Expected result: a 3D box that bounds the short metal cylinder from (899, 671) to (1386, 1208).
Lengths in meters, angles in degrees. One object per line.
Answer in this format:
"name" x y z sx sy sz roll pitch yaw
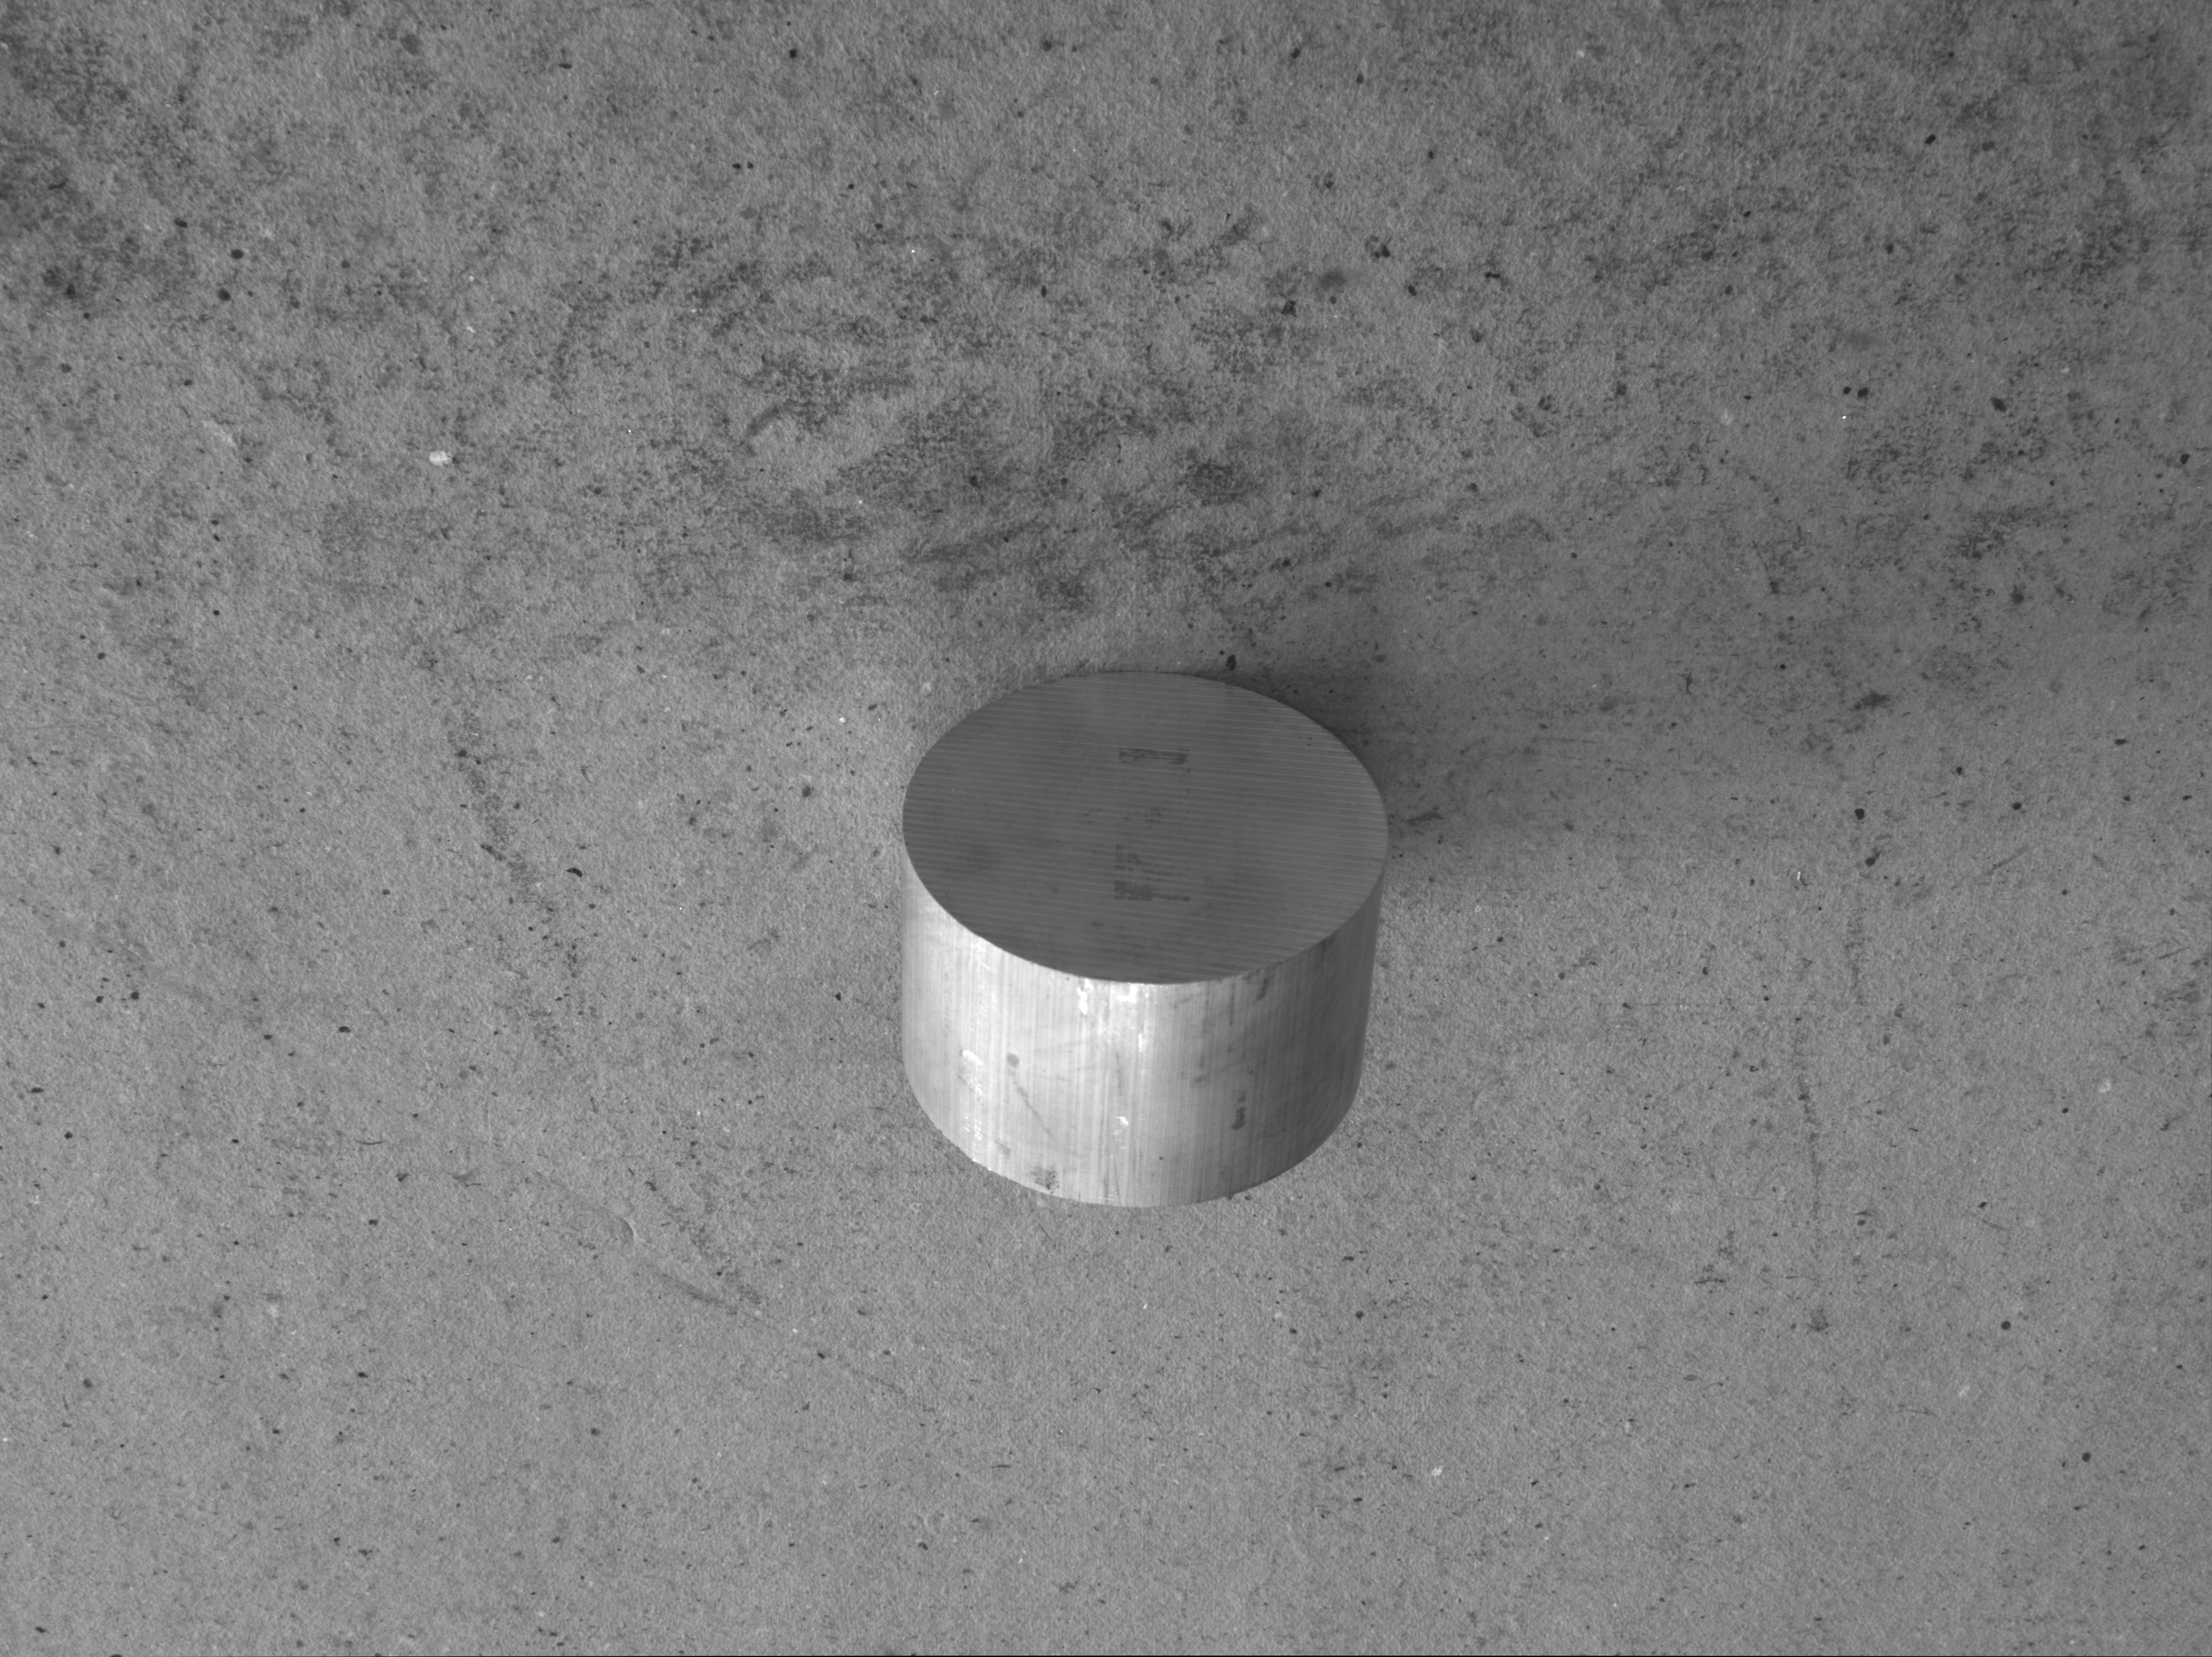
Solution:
"short metal cylinder" 0.005 0.018 0.619 0.080 0.080 0.050 1 130 -1
